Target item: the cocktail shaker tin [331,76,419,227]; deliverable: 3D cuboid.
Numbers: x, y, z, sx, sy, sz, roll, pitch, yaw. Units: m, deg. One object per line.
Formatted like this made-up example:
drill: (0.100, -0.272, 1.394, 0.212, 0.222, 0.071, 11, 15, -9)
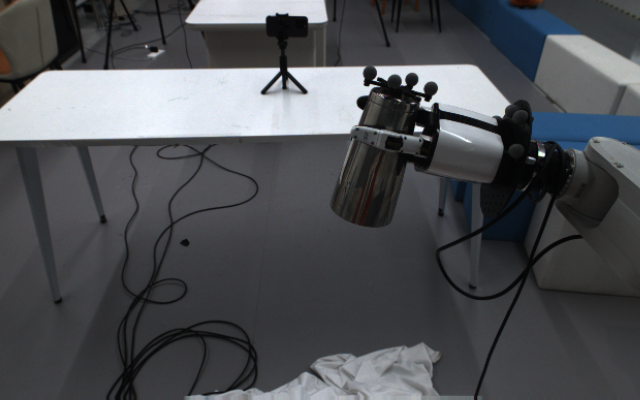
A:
cocktail shaker tin: (0.081, -0.063, 0.656, 0.093, 0.170, 0.093, 12, 25, -6)
